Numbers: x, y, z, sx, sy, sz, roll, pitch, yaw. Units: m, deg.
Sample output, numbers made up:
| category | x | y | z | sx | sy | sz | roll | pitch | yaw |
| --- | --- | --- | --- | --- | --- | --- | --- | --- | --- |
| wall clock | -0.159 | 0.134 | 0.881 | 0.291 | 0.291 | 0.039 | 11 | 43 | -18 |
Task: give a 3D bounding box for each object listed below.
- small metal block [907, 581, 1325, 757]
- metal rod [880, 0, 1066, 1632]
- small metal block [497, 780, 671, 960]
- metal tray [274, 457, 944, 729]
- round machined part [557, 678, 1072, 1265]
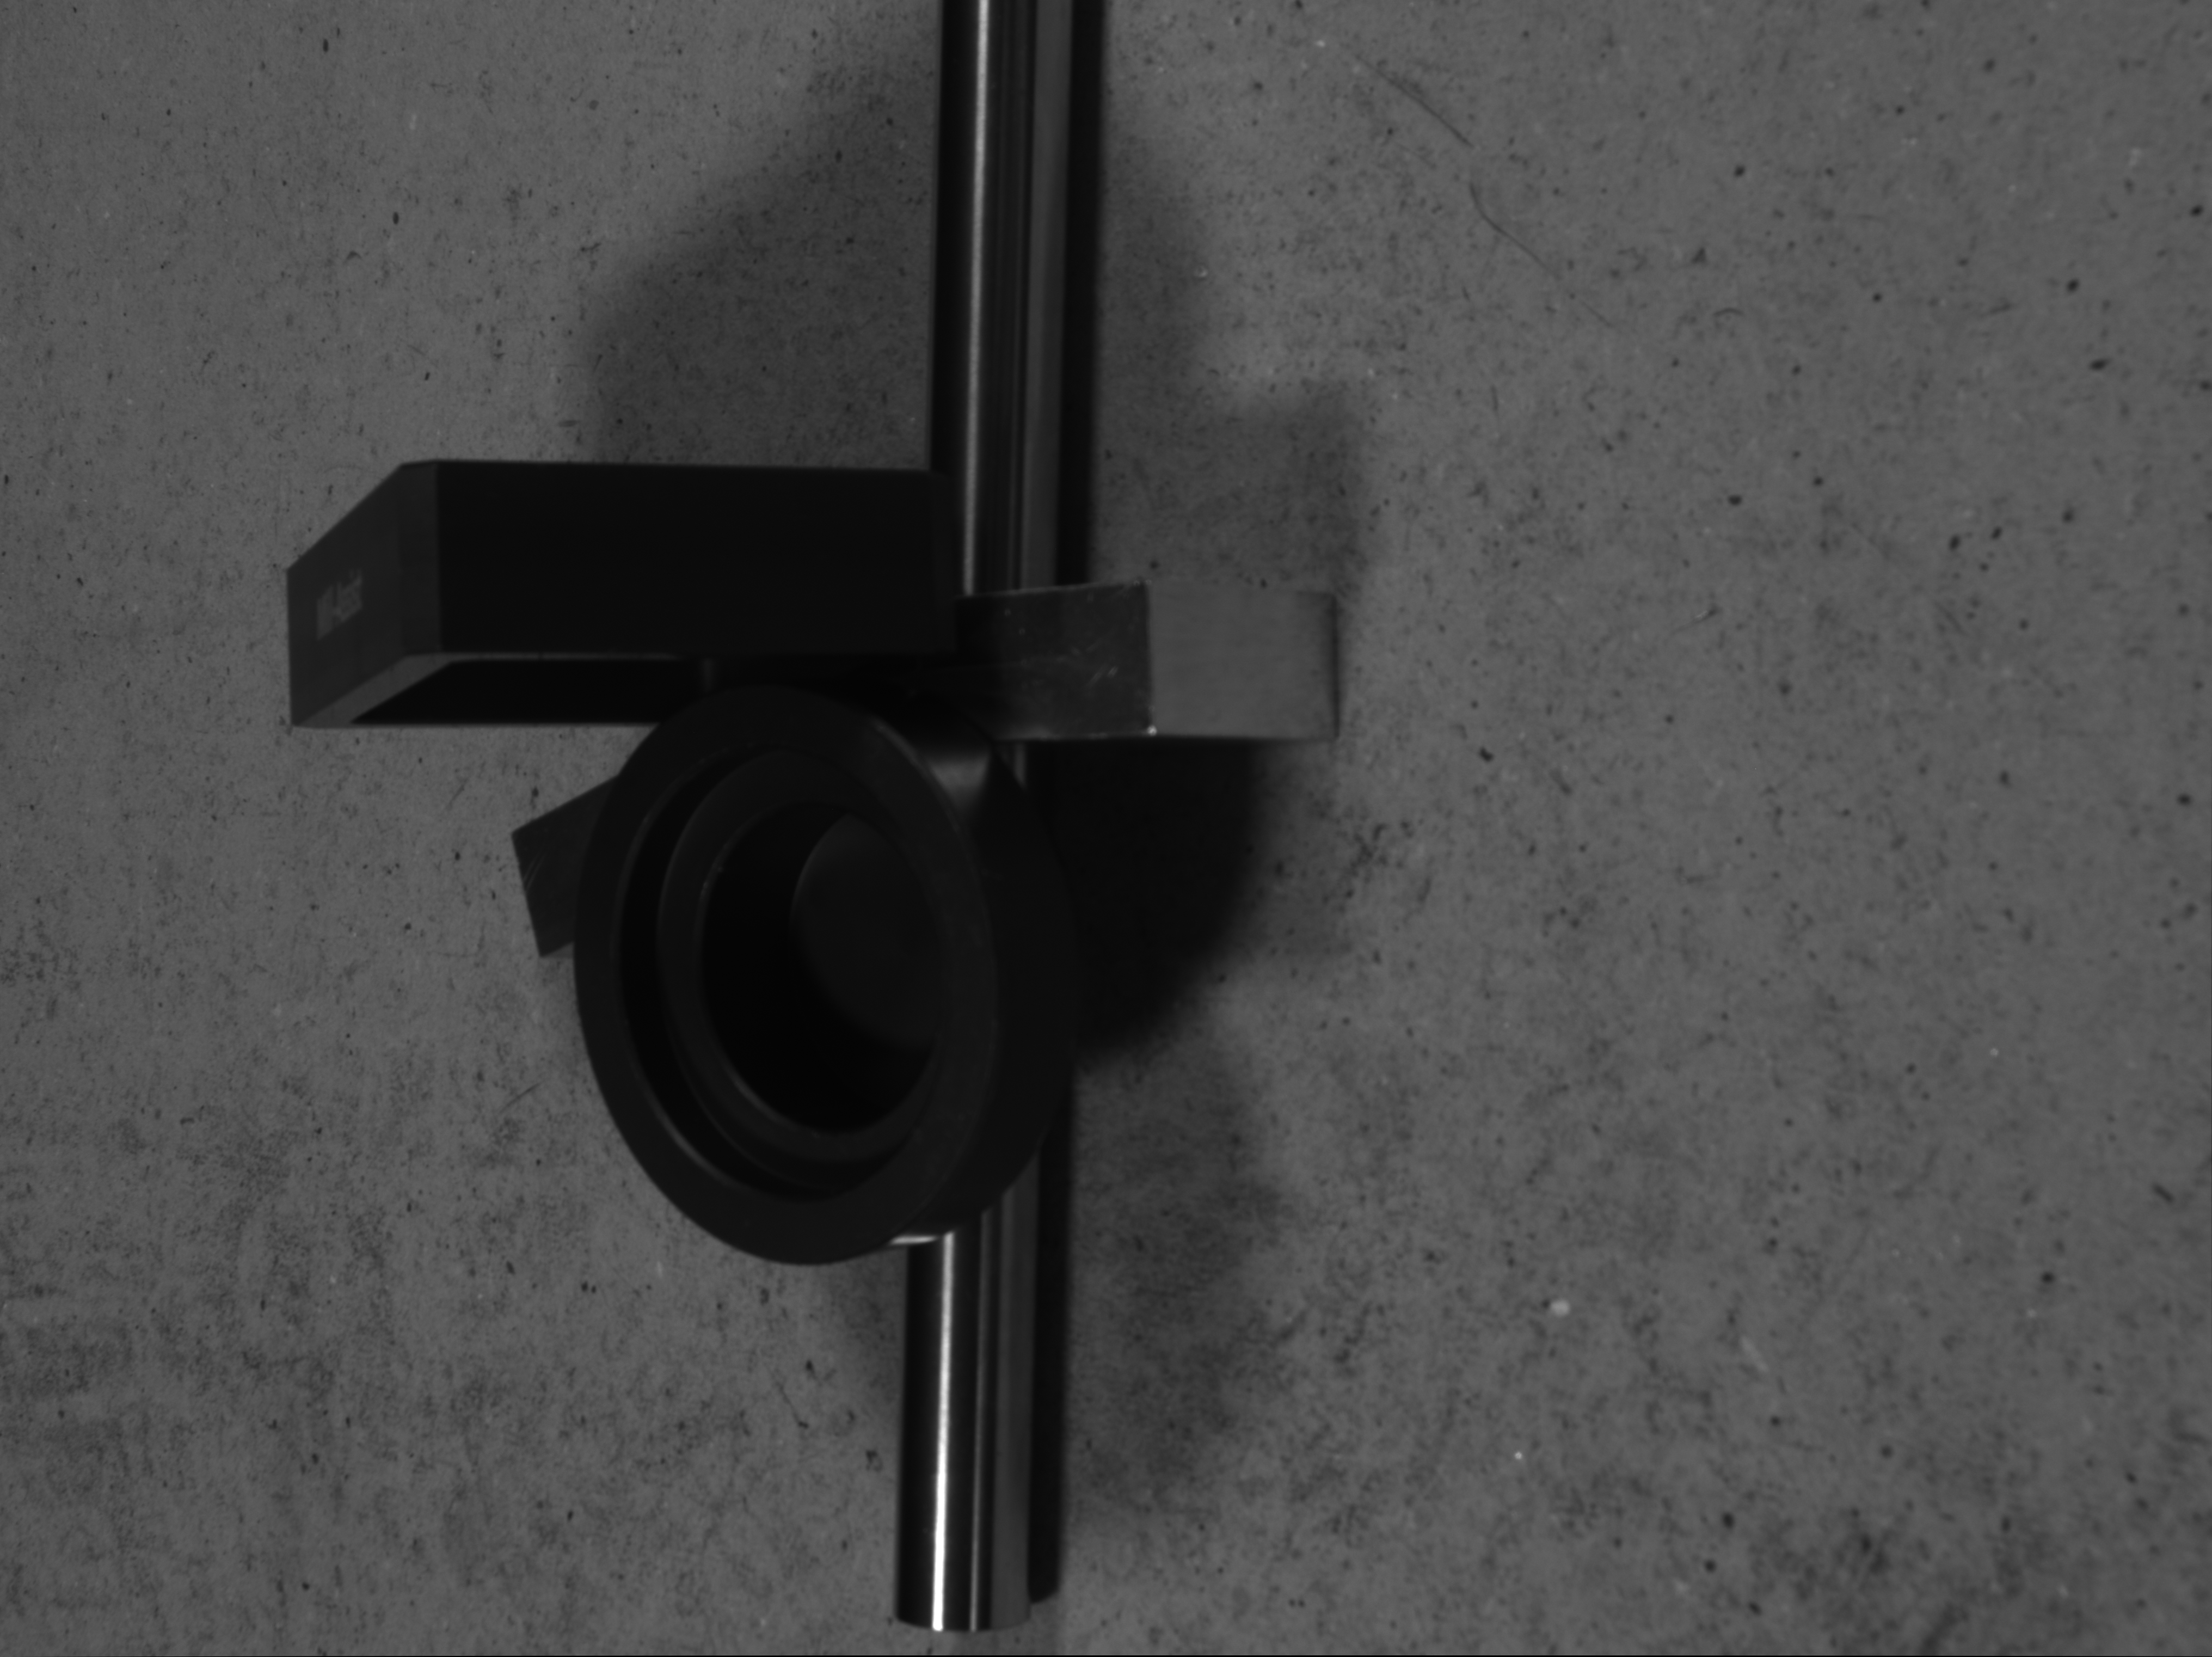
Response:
| category | x | y | z | sx | sy | sz | roll | pitch | yaw |
| --- | --- | --- | --- | --- | --- | --- | --- | --- | --- |
| small metal block | 0.002 | -0.026 | 0.619 | 0.050 | 0.050 | 0.025 | -2 | 88 | 39 |
| metal rod | -0.024 | -0.008 | 0.656 | 0.025 | 0.025 | 0.300 | 3 | 92 | 39 |
| small metal block | -0.076 | 0.004 | 0.682 | 0.050 | 0.050 | 0.025 | -24 | 75 | 37 |
| metal tray | -0.090 | -0.038 | 0.639 | 0.130 | 0.090 | 0.030 | 169 | 100 | -69 |
| round machined part | -0.045 | 0.023 | 0.626 | 0.098 | 0.042 | 0.098 | 3 | 95 | 37 |
